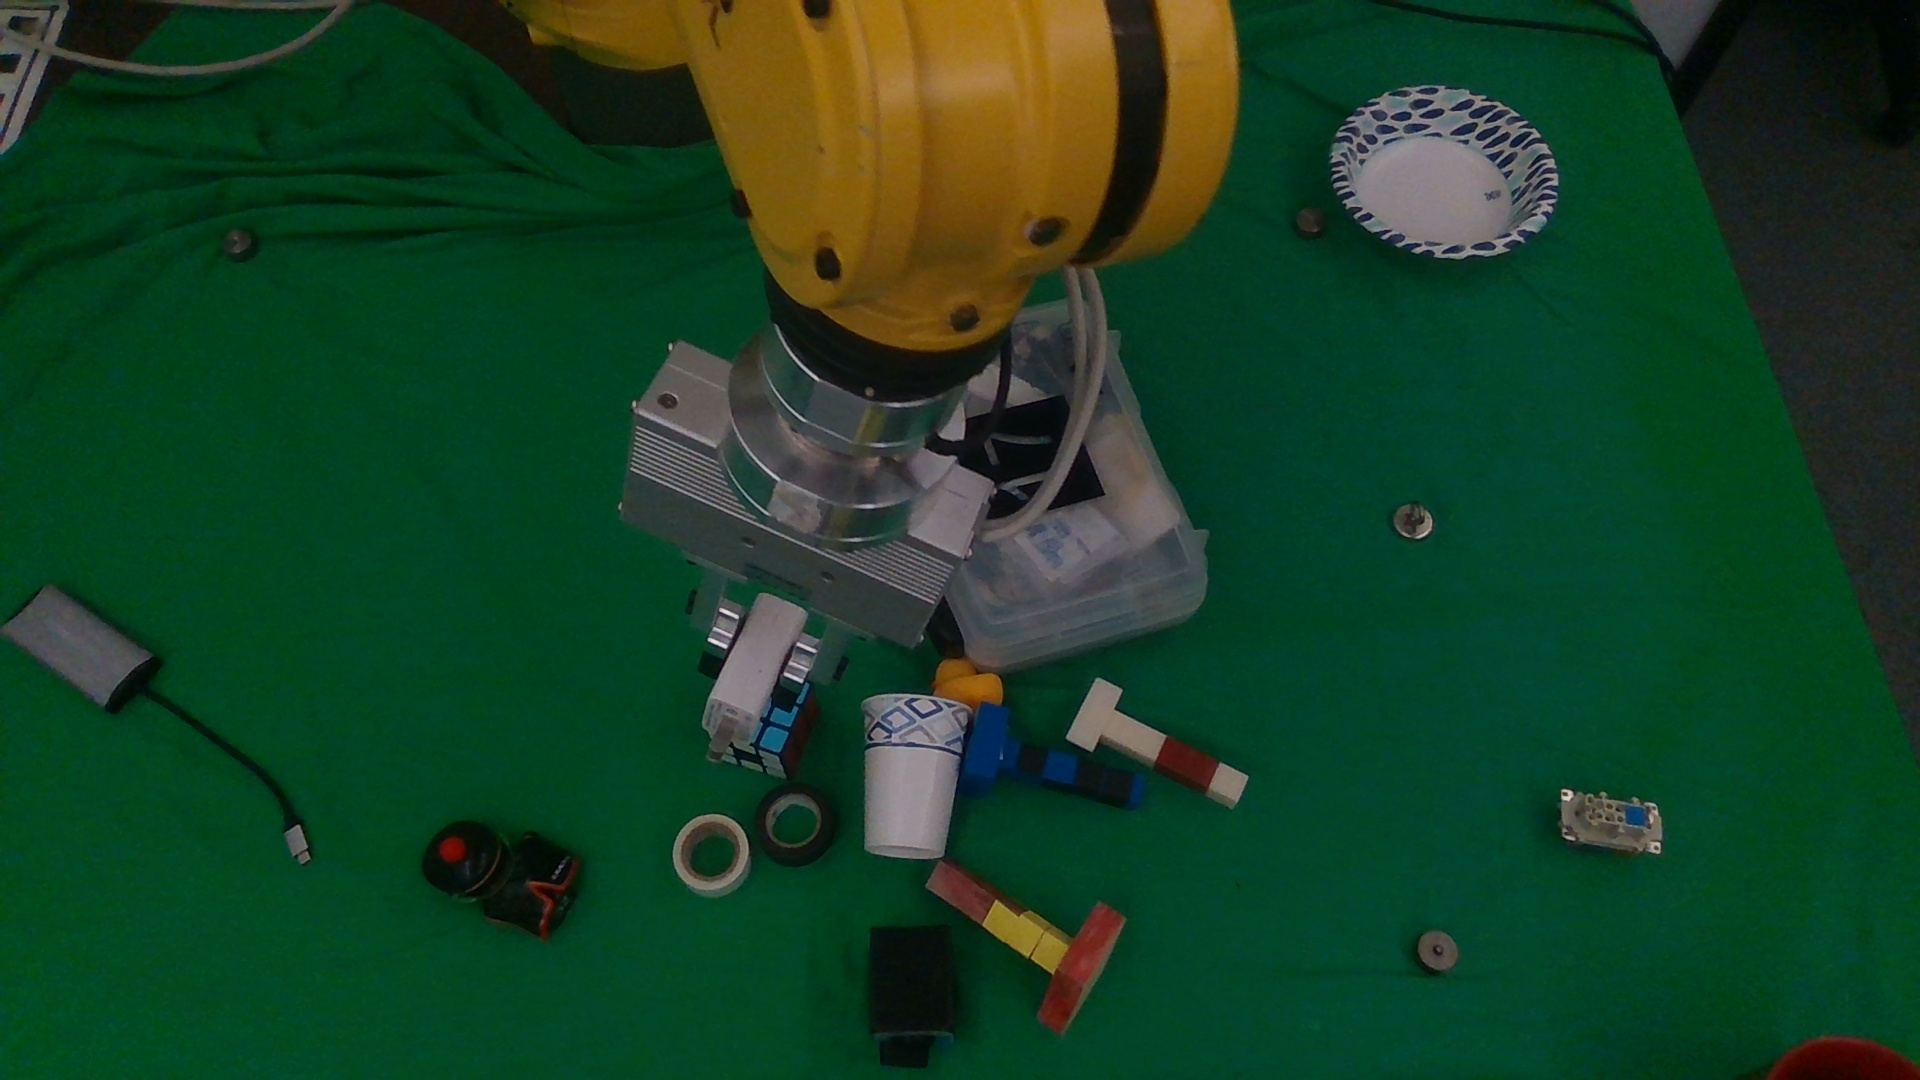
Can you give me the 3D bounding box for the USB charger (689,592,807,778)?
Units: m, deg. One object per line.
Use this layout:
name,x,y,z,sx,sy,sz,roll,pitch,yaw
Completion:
USB charger,-0.090,0.061,0.571,0.029,0.045,0.075,24,58,1

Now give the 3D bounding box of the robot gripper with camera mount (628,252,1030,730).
robot gripper with camera mount,-0.039,-0.037,0.574,0.119,0.159,0.193,27,49,2
